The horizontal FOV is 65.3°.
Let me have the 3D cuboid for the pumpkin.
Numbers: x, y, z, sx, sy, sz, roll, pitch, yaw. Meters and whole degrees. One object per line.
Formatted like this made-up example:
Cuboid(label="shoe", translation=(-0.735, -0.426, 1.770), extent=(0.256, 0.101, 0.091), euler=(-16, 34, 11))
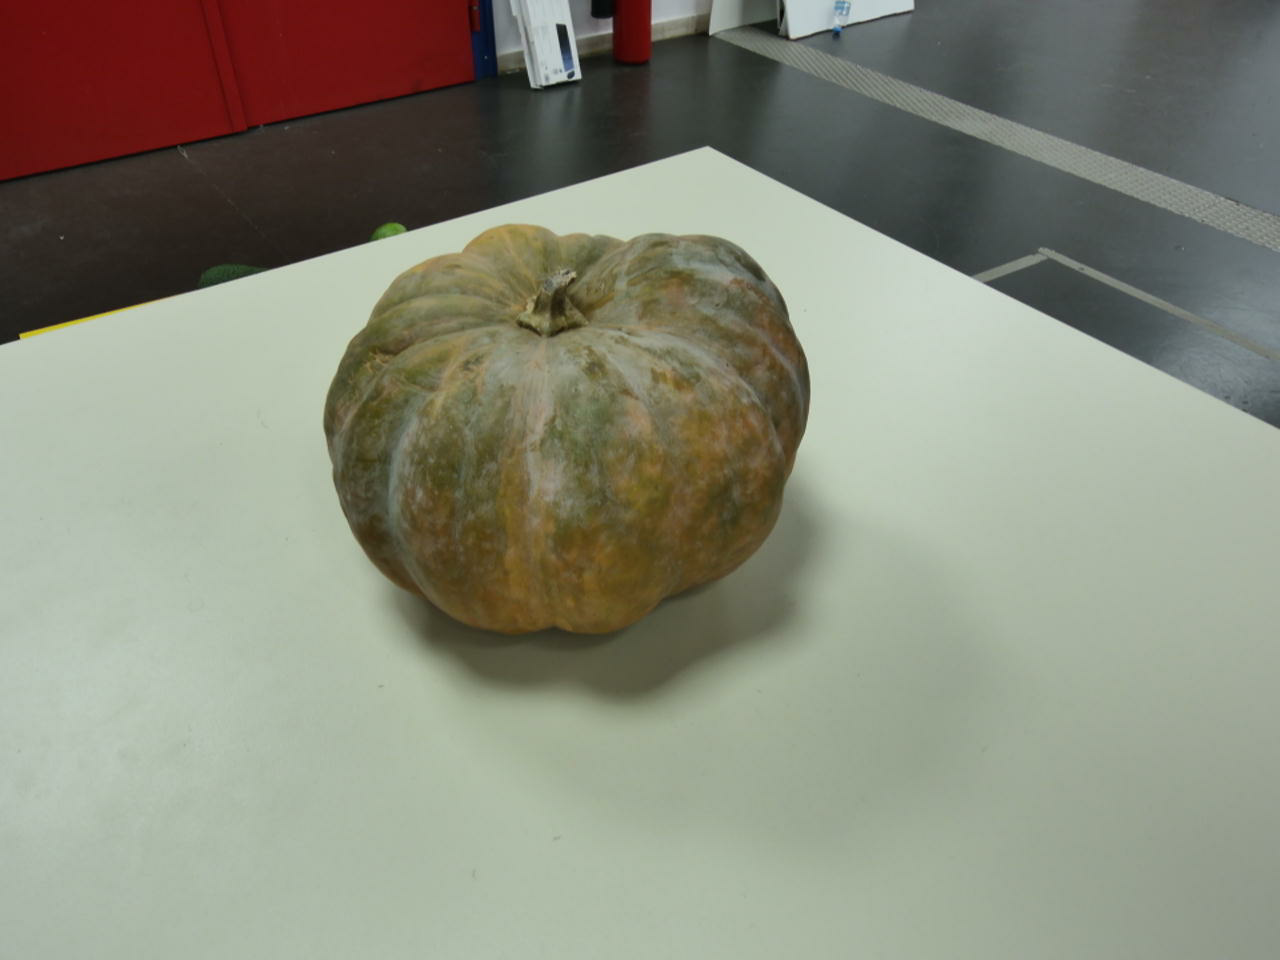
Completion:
Cuboid(label="pumpkin", translation=(-0.039, -0.032, 0.519), extent=(0.252, 0.169, 0.251), euler=(0, 38, 0))
